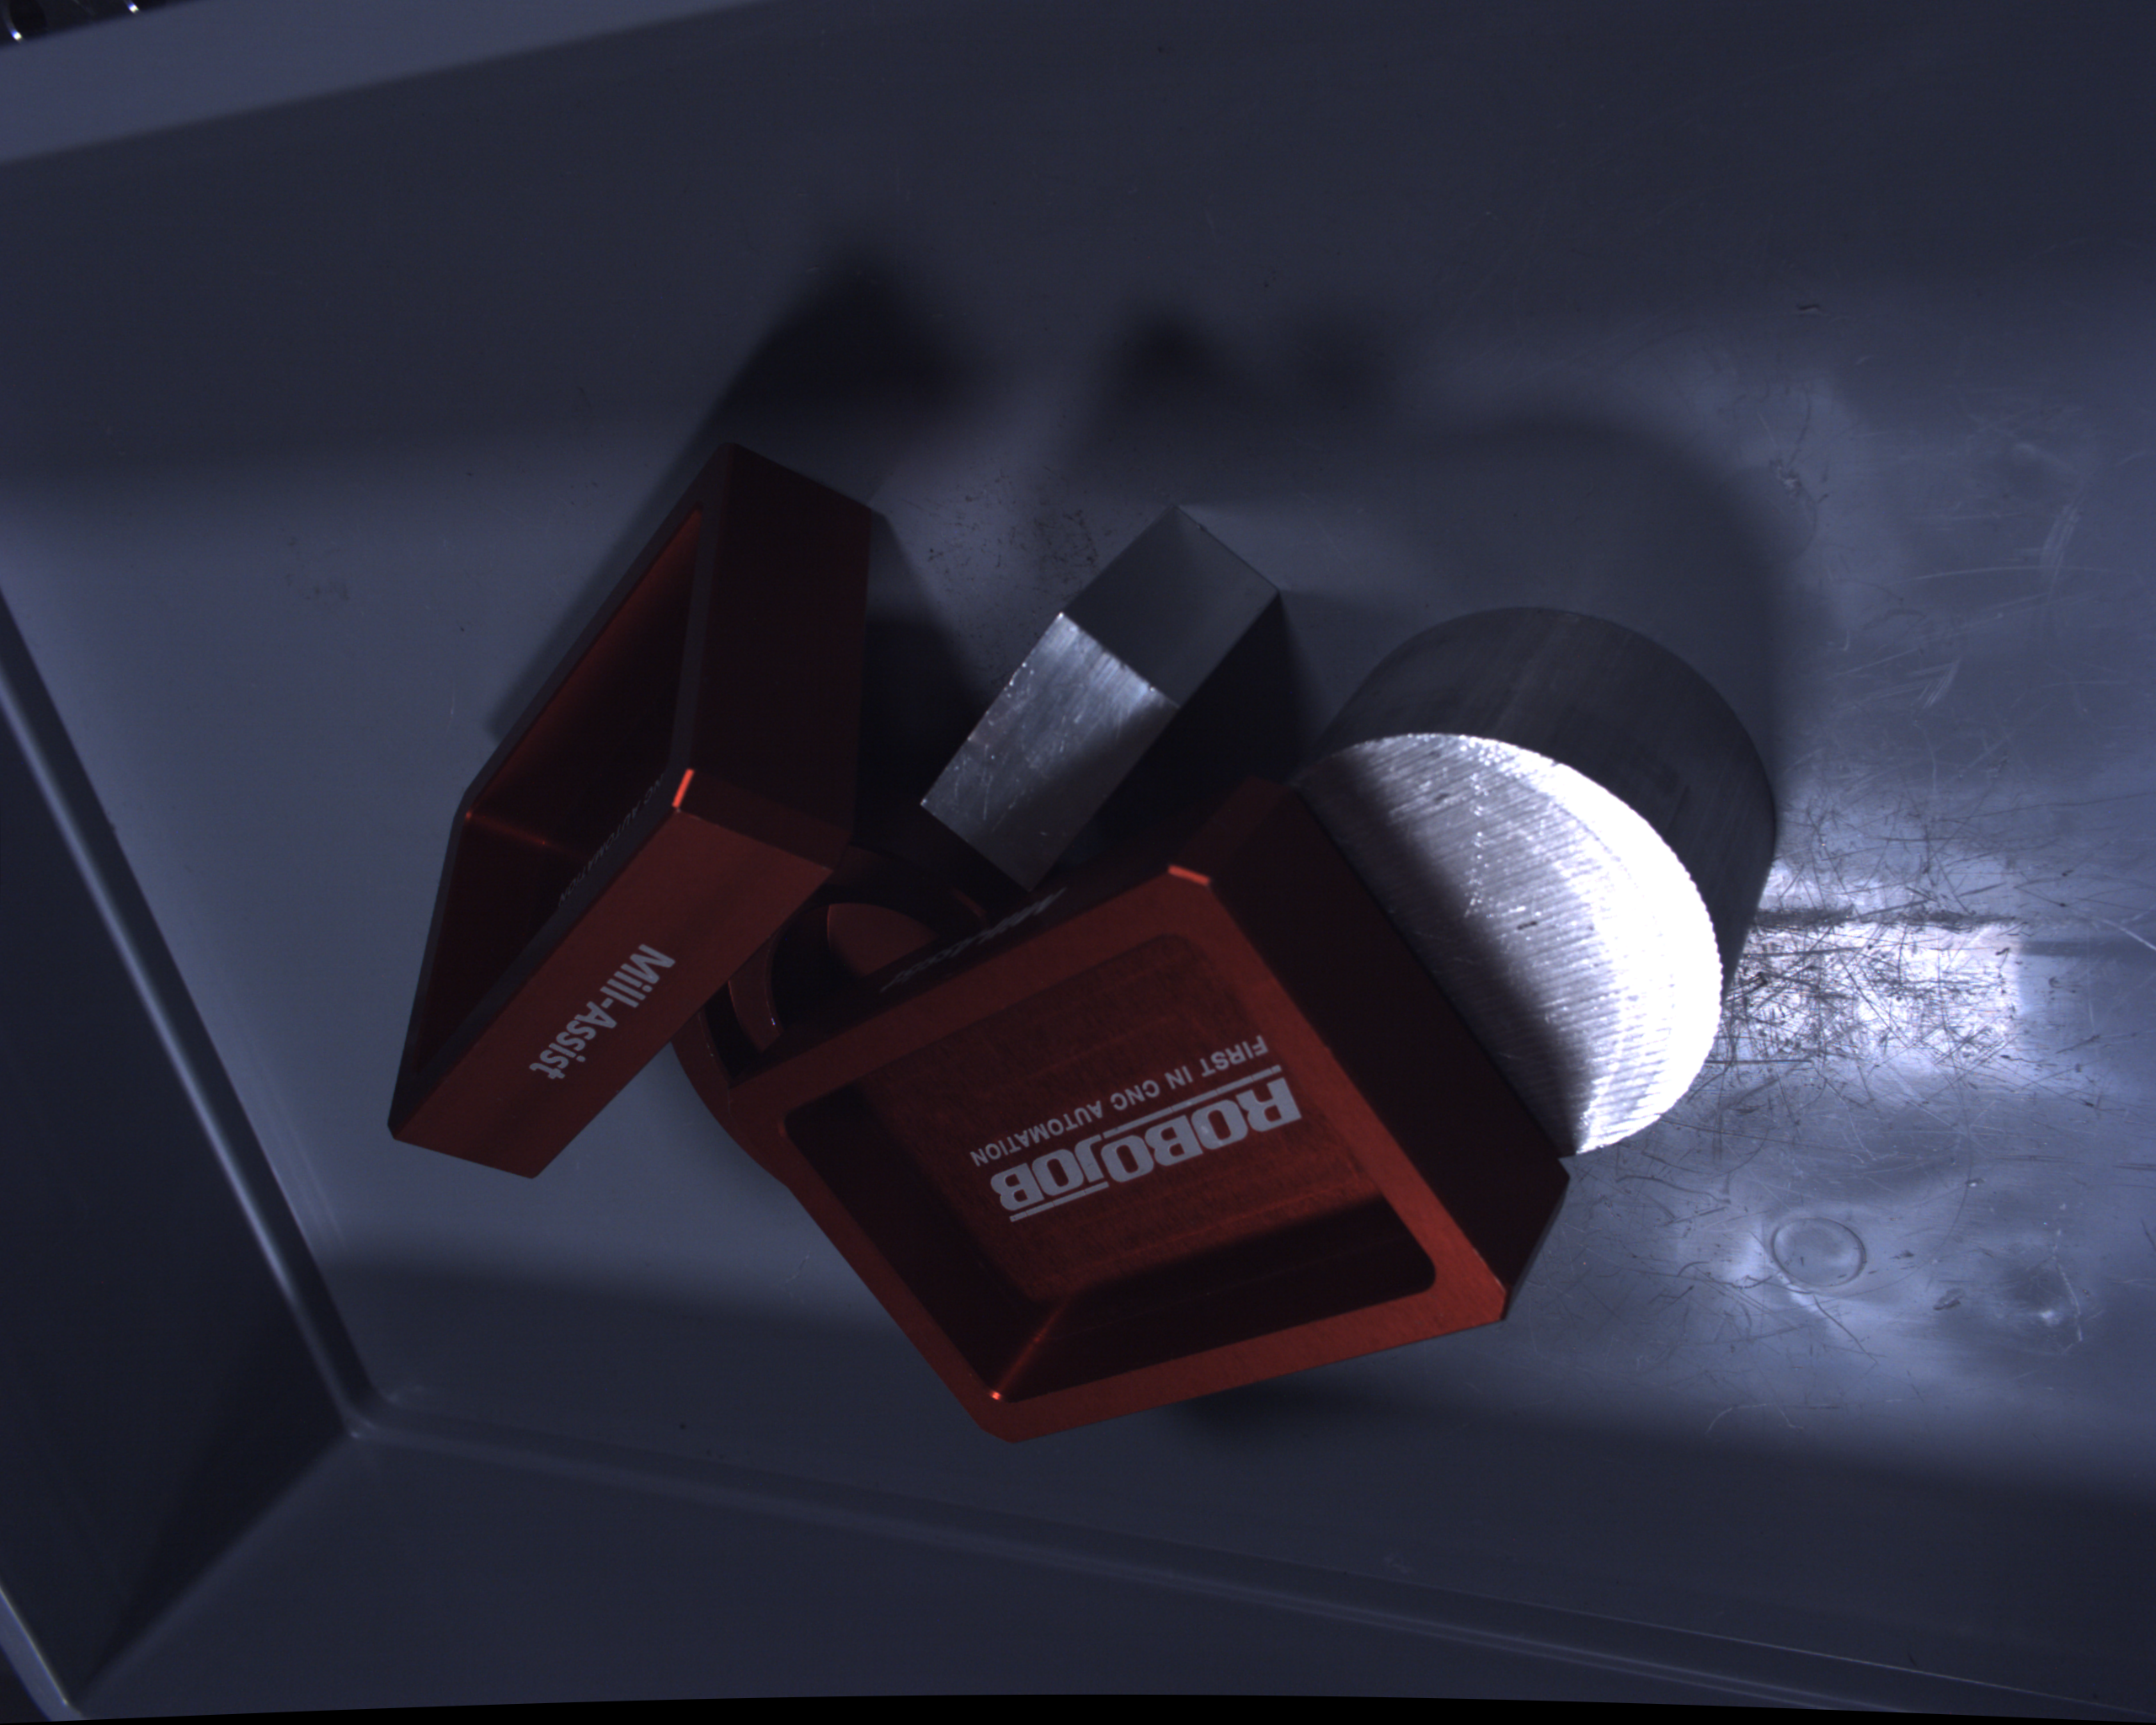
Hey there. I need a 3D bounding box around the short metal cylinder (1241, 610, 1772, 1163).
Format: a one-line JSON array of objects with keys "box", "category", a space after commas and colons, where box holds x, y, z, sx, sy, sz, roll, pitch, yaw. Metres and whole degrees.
[{"box": [0.072, 0.004, 0.353, 0.080, 0.050, 0.079, 13, 124, 20], "category": "short metal cylinder"}]

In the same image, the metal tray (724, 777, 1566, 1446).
[{"box": [0.007, 0.050, 0.368, 0.130, 0.030, 0.090, -28, 103, 41], "category": "metal tray"}]

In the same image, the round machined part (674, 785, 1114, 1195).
[{"box": [-0.034, 0.027, 0.430, 0.098, 0.042, 0.097, 13, 124, 20], "category": "round machined part"}]

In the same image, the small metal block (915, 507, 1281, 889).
[{"box": [0.004, -0.029, 0.368, 0.025, 0.050, 0.050, 40, 127, 1], "category": "small metal block"}]

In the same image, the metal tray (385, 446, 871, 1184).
[{"box": [-0.088, -0.007, 0.403, 0.030, 0.090, 0.129, 24, 134, -28], "category": "metal tray"}]
